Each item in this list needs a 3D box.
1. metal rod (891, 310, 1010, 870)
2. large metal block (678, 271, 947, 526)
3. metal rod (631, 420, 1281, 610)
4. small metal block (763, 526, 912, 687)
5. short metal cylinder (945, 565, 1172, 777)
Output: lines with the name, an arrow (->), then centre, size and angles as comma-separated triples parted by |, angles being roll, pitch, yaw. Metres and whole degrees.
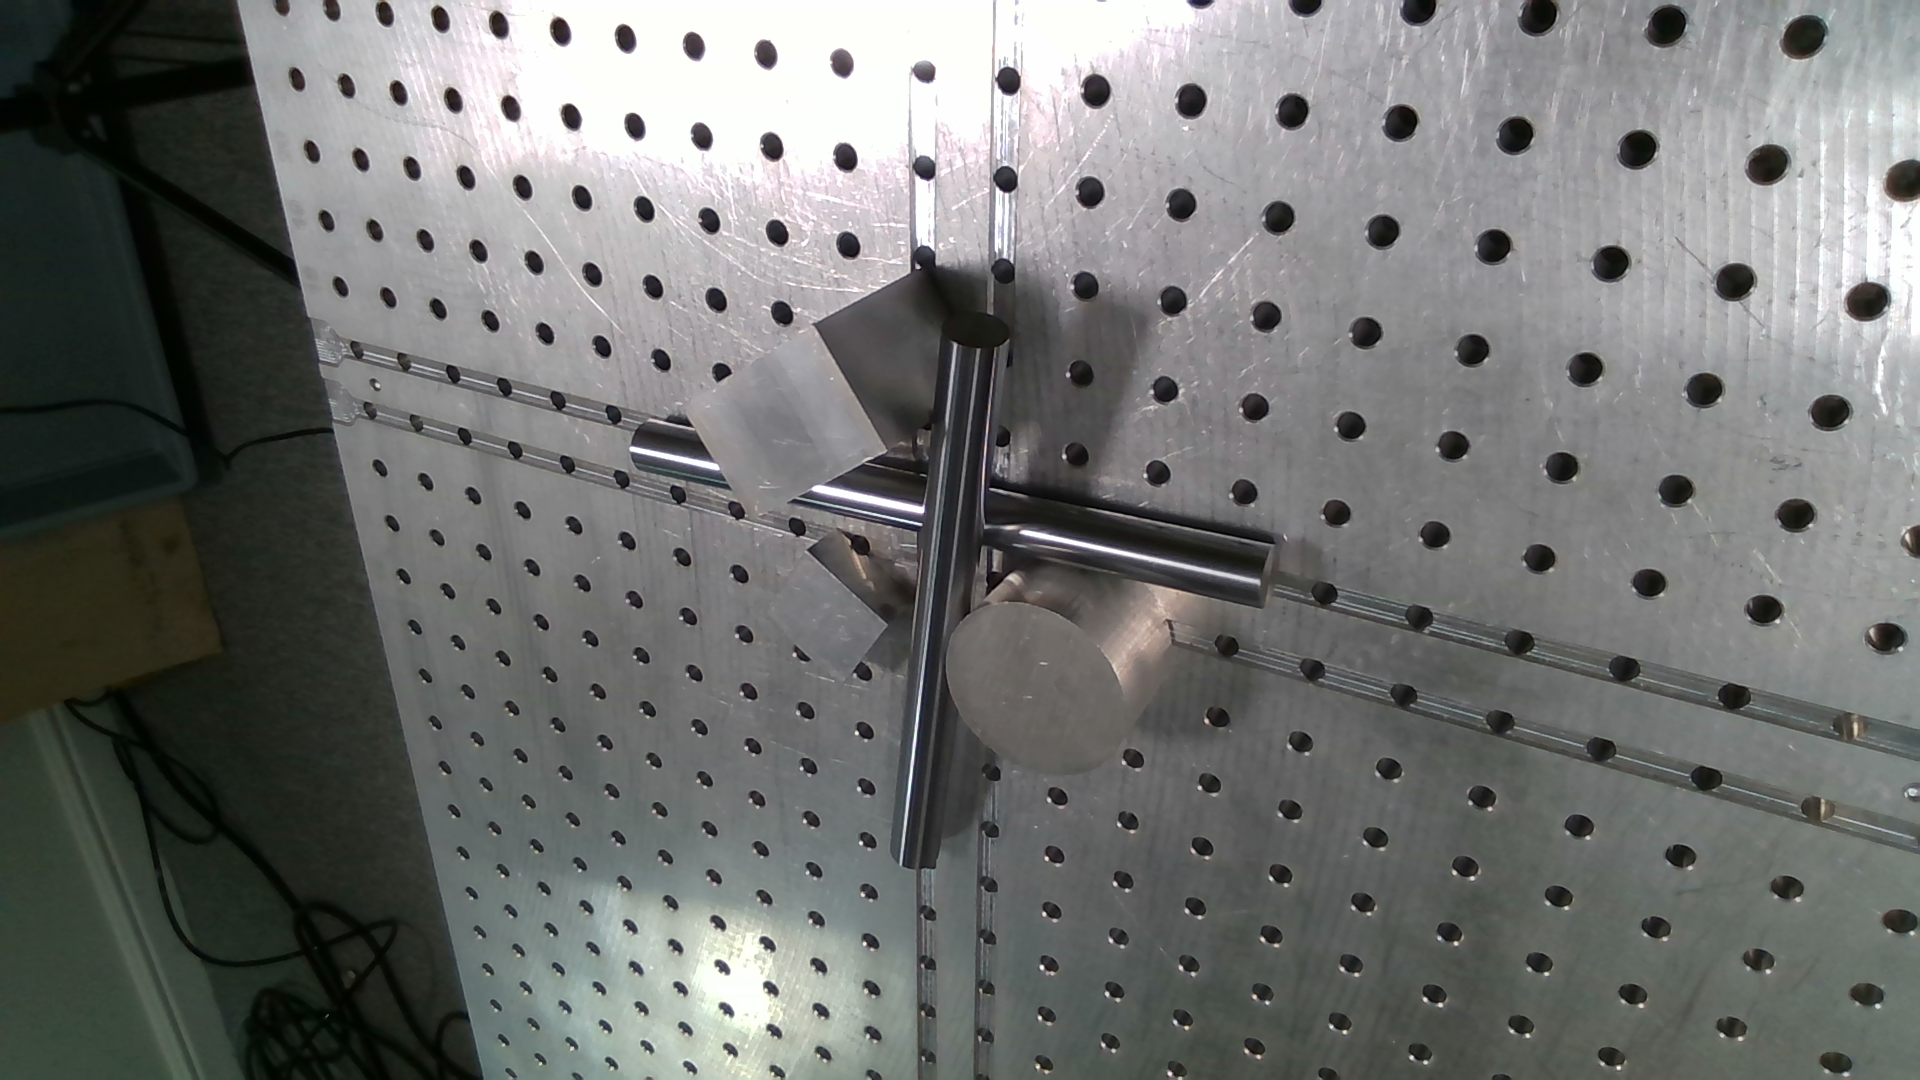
metal rod -> -0.009, 0.039, 0.586 | 0.025, 0.025, 0.301 | 24, 133, 19
large metal block -> -0.049, -0.056, 0.545 | 0.080, 0.080, 0.050 | -24, 101, 38
metal rod -> -0.015, -0.015, 0.584 | 0.300, 0.025, 0.025 | 13, 121, 26
small metal block -> -0.056, 0.031, 0.635 | 0.050, 0.025, 0.050 | 42, 129, 5
short metal cylinder -> 0.041, 0.050, 0.569 | 0.080, 0.050, 0.080 | 14, 122, 25
